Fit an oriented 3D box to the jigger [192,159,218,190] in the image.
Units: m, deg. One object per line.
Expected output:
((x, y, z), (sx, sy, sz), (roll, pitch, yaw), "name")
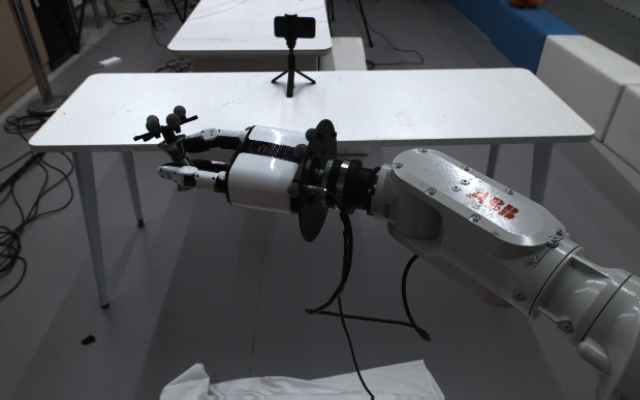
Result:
((-0.187, -0.053, 0.668), (0.043, 0.071, 0.043), (-17, 23, 8), "jigger")
